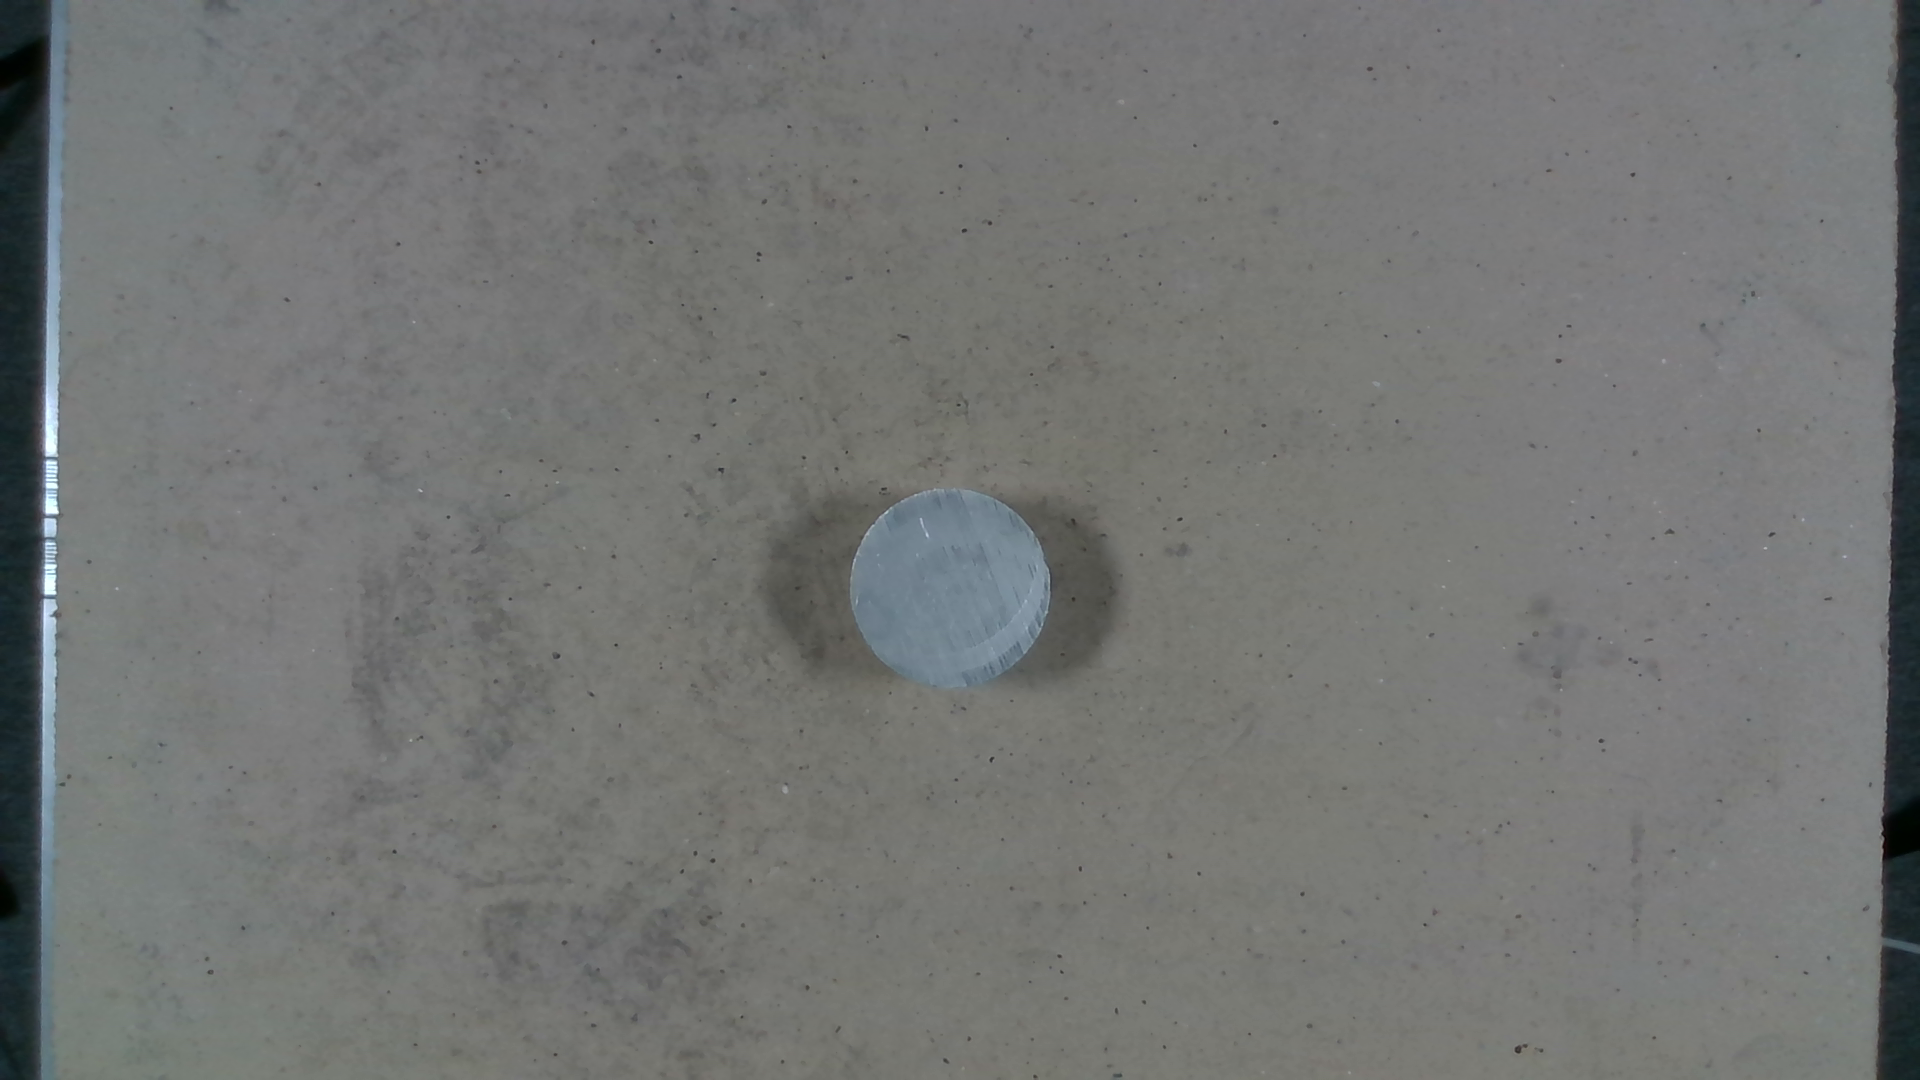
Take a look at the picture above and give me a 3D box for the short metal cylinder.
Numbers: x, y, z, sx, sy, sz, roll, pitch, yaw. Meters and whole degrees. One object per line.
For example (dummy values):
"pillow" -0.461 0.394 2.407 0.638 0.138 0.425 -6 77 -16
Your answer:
"short metal cylinder" -0.004 0.019 0.575 0.080 0.050 0.080 0 90 0
